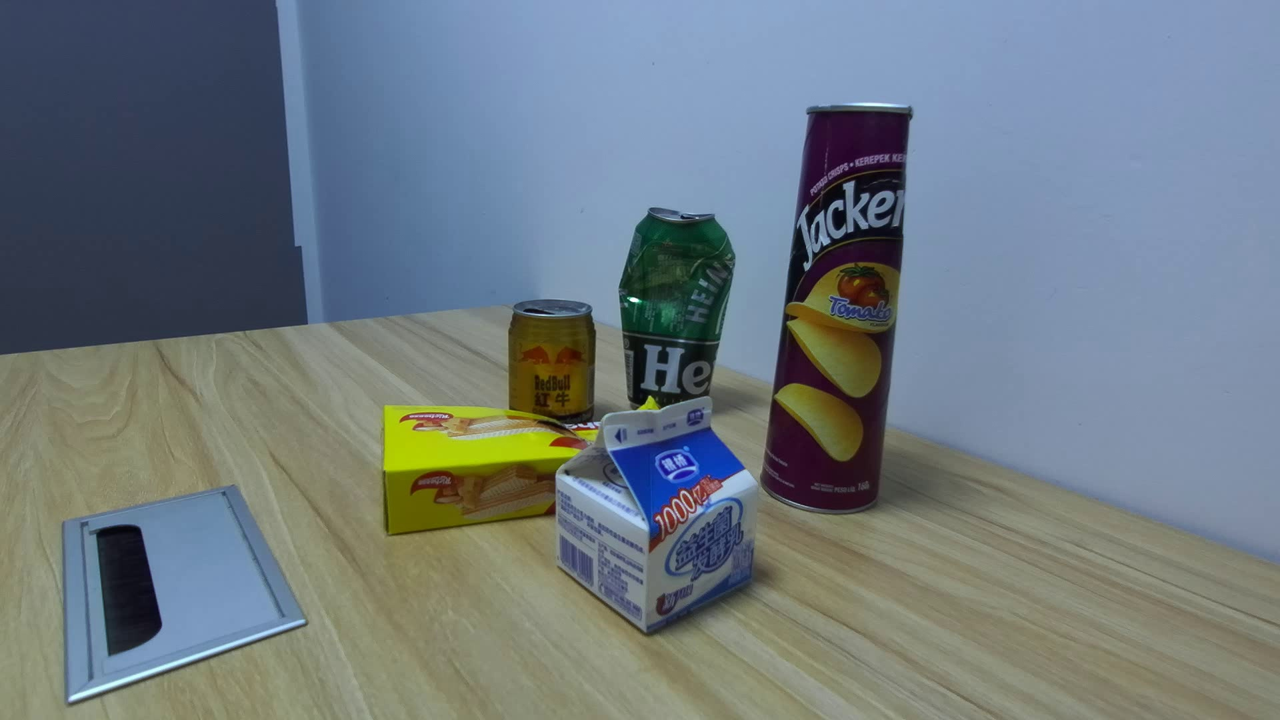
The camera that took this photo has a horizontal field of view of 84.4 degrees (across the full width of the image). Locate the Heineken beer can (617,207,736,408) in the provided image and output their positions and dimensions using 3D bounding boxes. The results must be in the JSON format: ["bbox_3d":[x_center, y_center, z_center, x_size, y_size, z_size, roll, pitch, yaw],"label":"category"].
[{"bbox_3d":[0.025,-0.037,0.571,0.066,0.164,0.077,-9,21,-34],"label":"Heineken beer can"}]

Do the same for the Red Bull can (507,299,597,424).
[{"bbox_3d":[-0.067,0.006,0.543,0.067,0.093,0.067,2,15,0],"label":"Red Bull can"}]

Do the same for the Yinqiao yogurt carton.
[{"bbox_3d":[0.009,0.064,0.344,0.076,0.092,0.073,-10,20,-39],"label":"Yinqiao yogurt carton"}]

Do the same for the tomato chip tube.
[{"bbox_3d":[0.123,-0.029,0.430,0.076,0.235,0.078,13,18,32],"label":"tomato chip tube"}]

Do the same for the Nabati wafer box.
[{"bbox_3d":[-0.058,0.057,0.455,0.205,0.042,0.106,-3,18,-20],"label":"Nabati wafer box"}]
